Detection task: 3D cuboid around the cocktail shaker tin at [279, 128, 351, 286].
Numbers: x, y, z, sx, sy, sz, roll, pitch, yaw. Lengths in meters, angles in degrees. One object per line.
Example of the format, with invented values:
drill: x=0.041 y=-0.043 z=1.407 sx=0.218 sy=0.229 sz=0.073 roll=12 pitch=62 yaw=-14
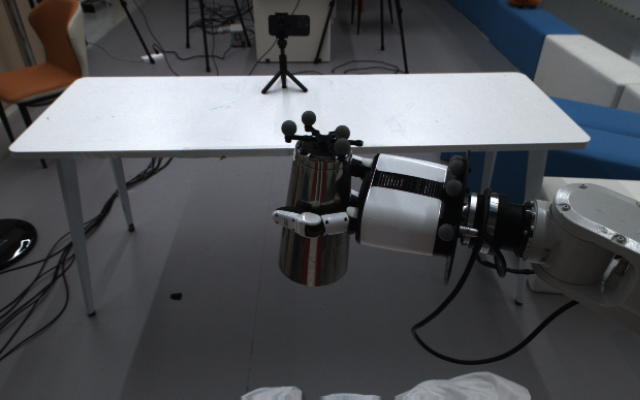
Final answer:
cocktail shaker tin: x=-0.002 y=0.010 z=0.595 sx=0.093 sy=0.170 sz=0.093 roll=4 pitch=32 yaw=-2
